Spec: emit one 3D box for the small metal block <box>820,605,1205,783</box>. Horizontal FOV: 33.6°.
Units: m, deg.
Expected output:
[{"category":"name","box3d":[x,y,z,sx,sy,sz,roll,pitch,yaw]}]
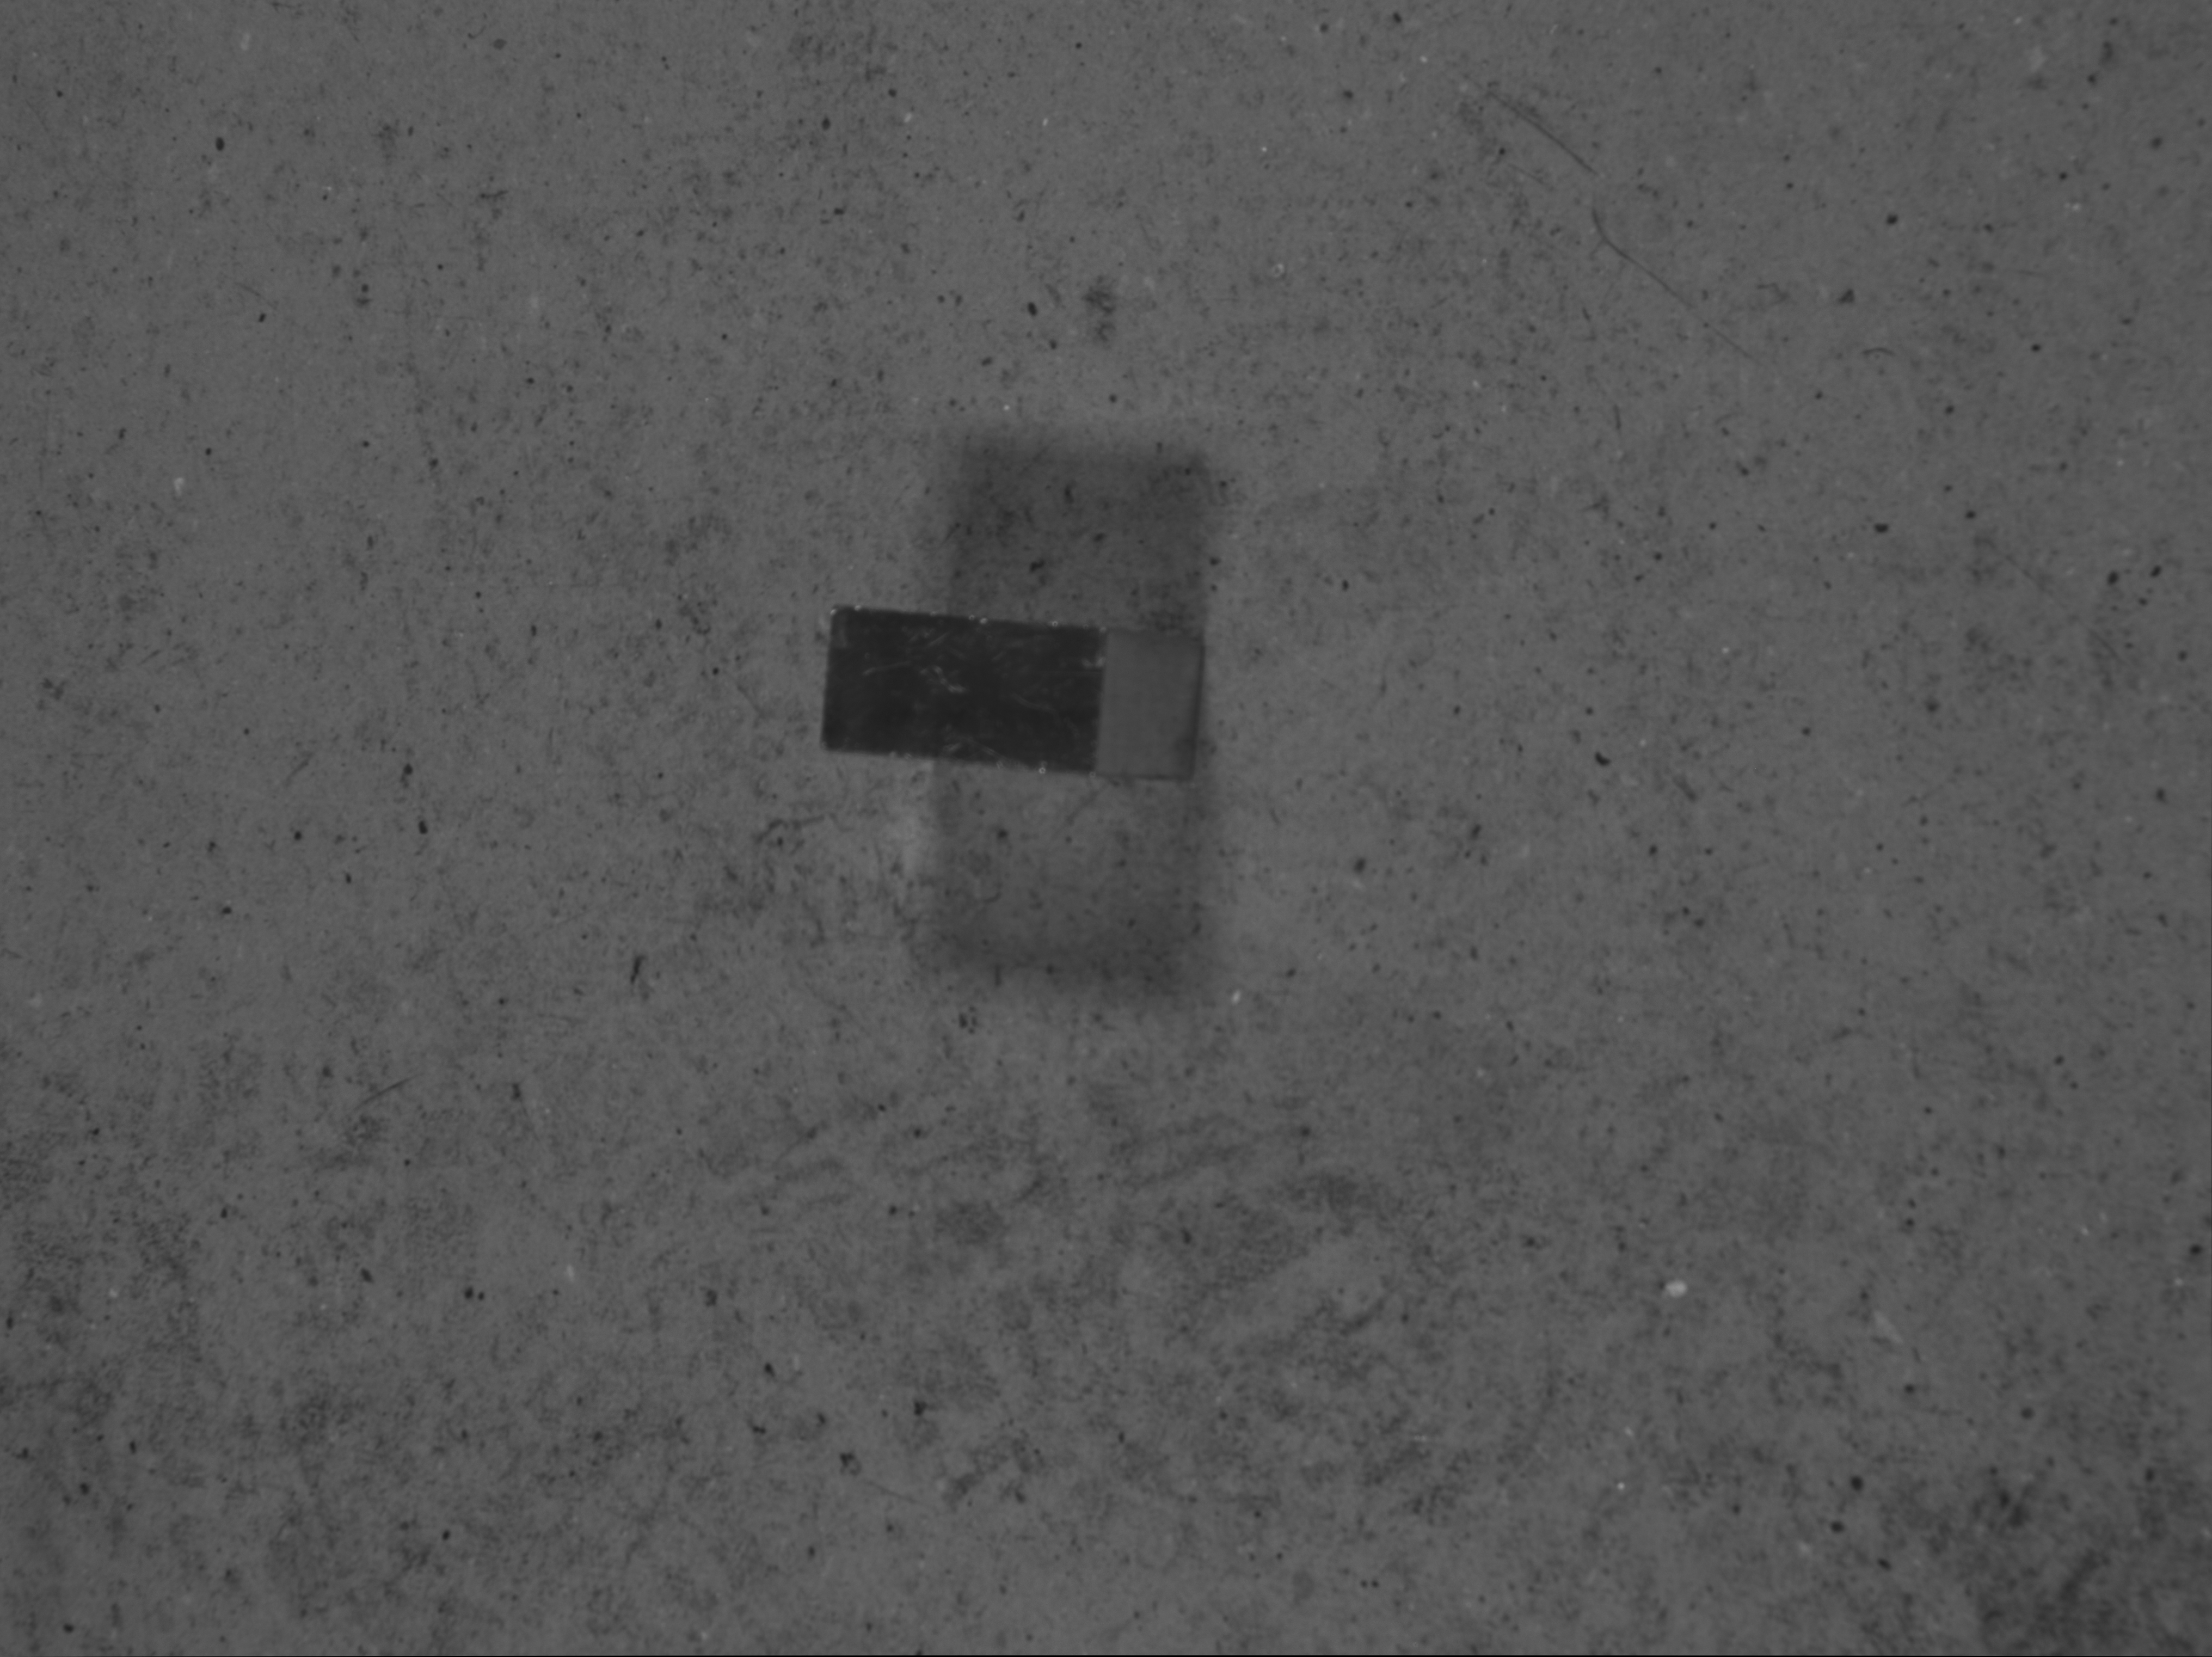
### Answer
[{"category":"small metal block","box3d":[-0.015,-0.023,0.636,0.050,0.050,0.025,6,92,20]}]
